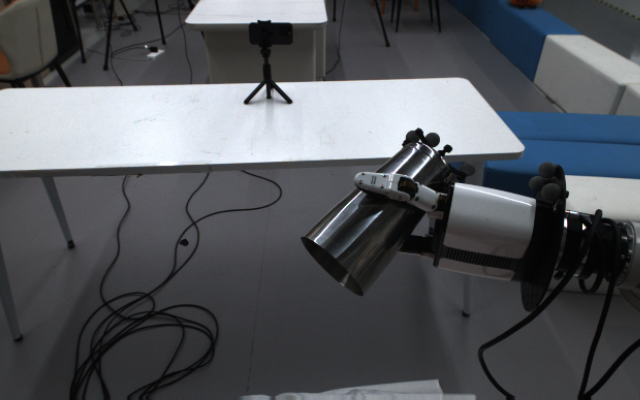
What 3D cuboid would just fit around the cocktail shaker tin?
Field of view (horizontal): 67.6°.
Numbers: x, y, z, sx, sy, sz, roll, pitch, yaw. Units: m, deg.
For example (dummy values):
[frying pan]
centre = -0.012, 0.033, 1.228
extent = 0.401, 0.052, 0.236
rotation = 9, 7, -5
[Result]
[cocktail shaker tin]
centre = 0.071, 0.010, 0.546
extent = 0.170, 0.093, 0.093
rotation = -43, 51, -15
